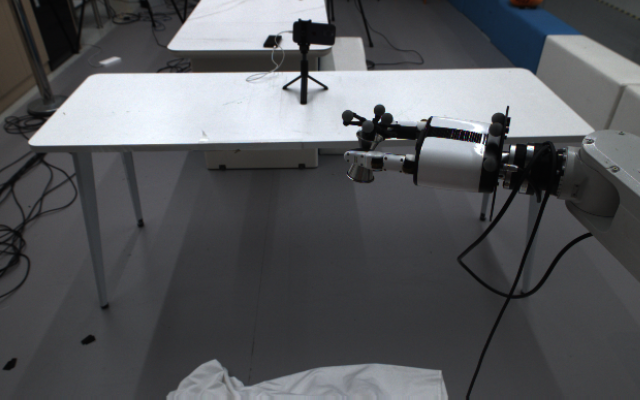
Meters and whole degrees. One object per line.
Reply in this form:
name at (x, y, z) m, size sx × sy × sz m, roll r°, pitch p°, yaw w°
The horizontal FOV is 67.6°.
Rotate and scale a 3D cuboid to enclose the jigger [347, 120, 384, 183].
jigger at (0.066, -0.066, 0.723) m, size 0.043 × 0.071 × 0.043 m, roll 9°, pitch 30°, yaw -5°
